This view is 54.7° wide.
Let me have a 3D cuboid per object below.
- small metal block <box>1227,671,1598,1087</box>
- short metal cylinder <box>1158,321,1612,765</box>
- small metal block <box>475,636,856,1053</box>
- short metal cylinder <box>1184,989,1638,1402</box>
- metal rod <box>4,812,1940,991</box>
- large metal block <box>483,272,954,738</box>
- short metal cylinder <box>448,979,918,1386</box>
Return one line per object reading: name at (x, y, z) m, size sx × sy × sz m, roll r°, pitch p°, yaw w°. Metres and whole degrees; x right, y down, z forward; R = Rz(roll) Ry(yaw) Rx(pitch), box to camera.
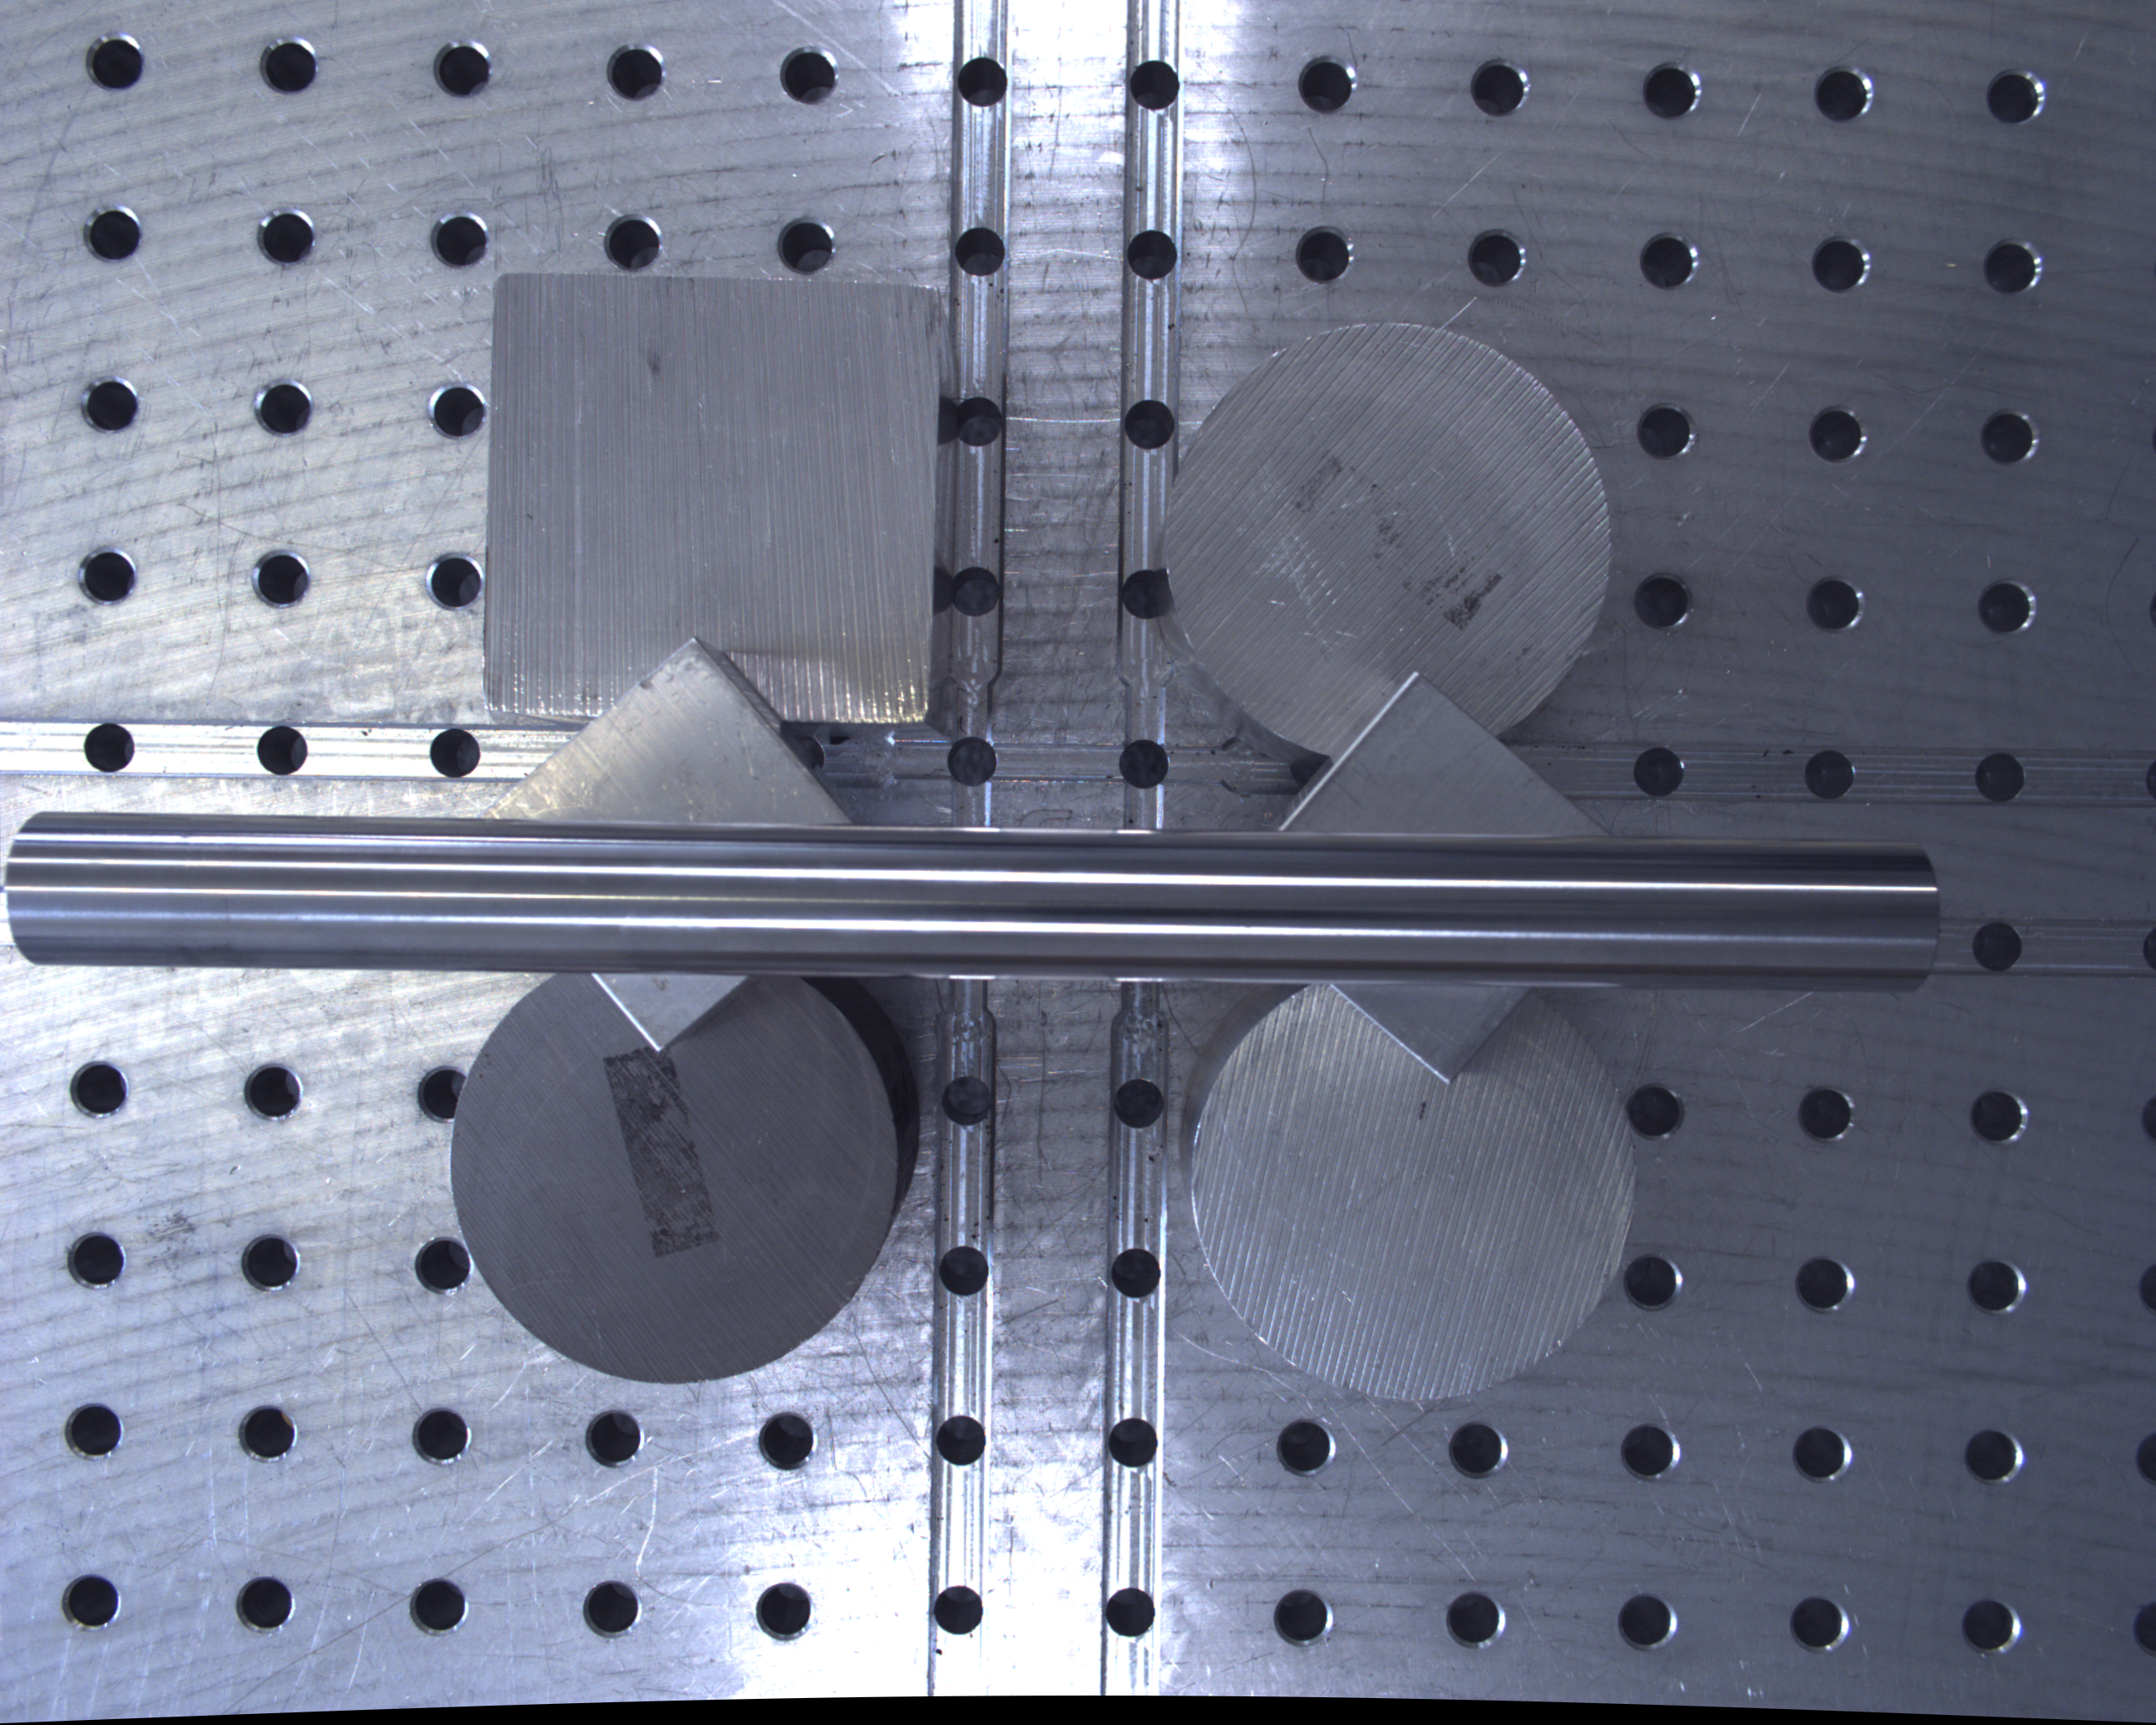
small metal block at (0.060, 0.003, 0.364) m, size 0.050 × 0.025 × 0.050 m, roll 40°, pitch 90°, yaw 0°
short metal cylinder at (0.056, -0.058, 0.401) m, size 0.081 × 0.050 × 0.080 m, roll 0°, pitch 90°, yaw 0°
small metal block at (-0.068, -0.003, 0.363) m, size 0.050 × 0.025 × 0.050 m, roll -40°, pitch 90°, yaw 0°
short metal cylinder at (0.061, 0.057, 0.401) m, size 0.081 × 0.050 × 0.080 m, roll 0°, pitch 90°, yaw 0°
metal rod at (-0.016, 0.006, 0.338) m, size 0.302 × 0.025 × 0.025 m, roll 1°, pitch 90°, yaw 0°
large metal block at (-0.066, -0.066, 0.400) m, size 0.081 × 0.050 × 0.080 m, roll 1°, pitch 90°, yaw 0°
short metal cylinder at (-0.073, 0.054, 0.399) m, size 0.081 × 0.050 × 0.080 m, roll 0°, pitch 90°, yaw 0°
